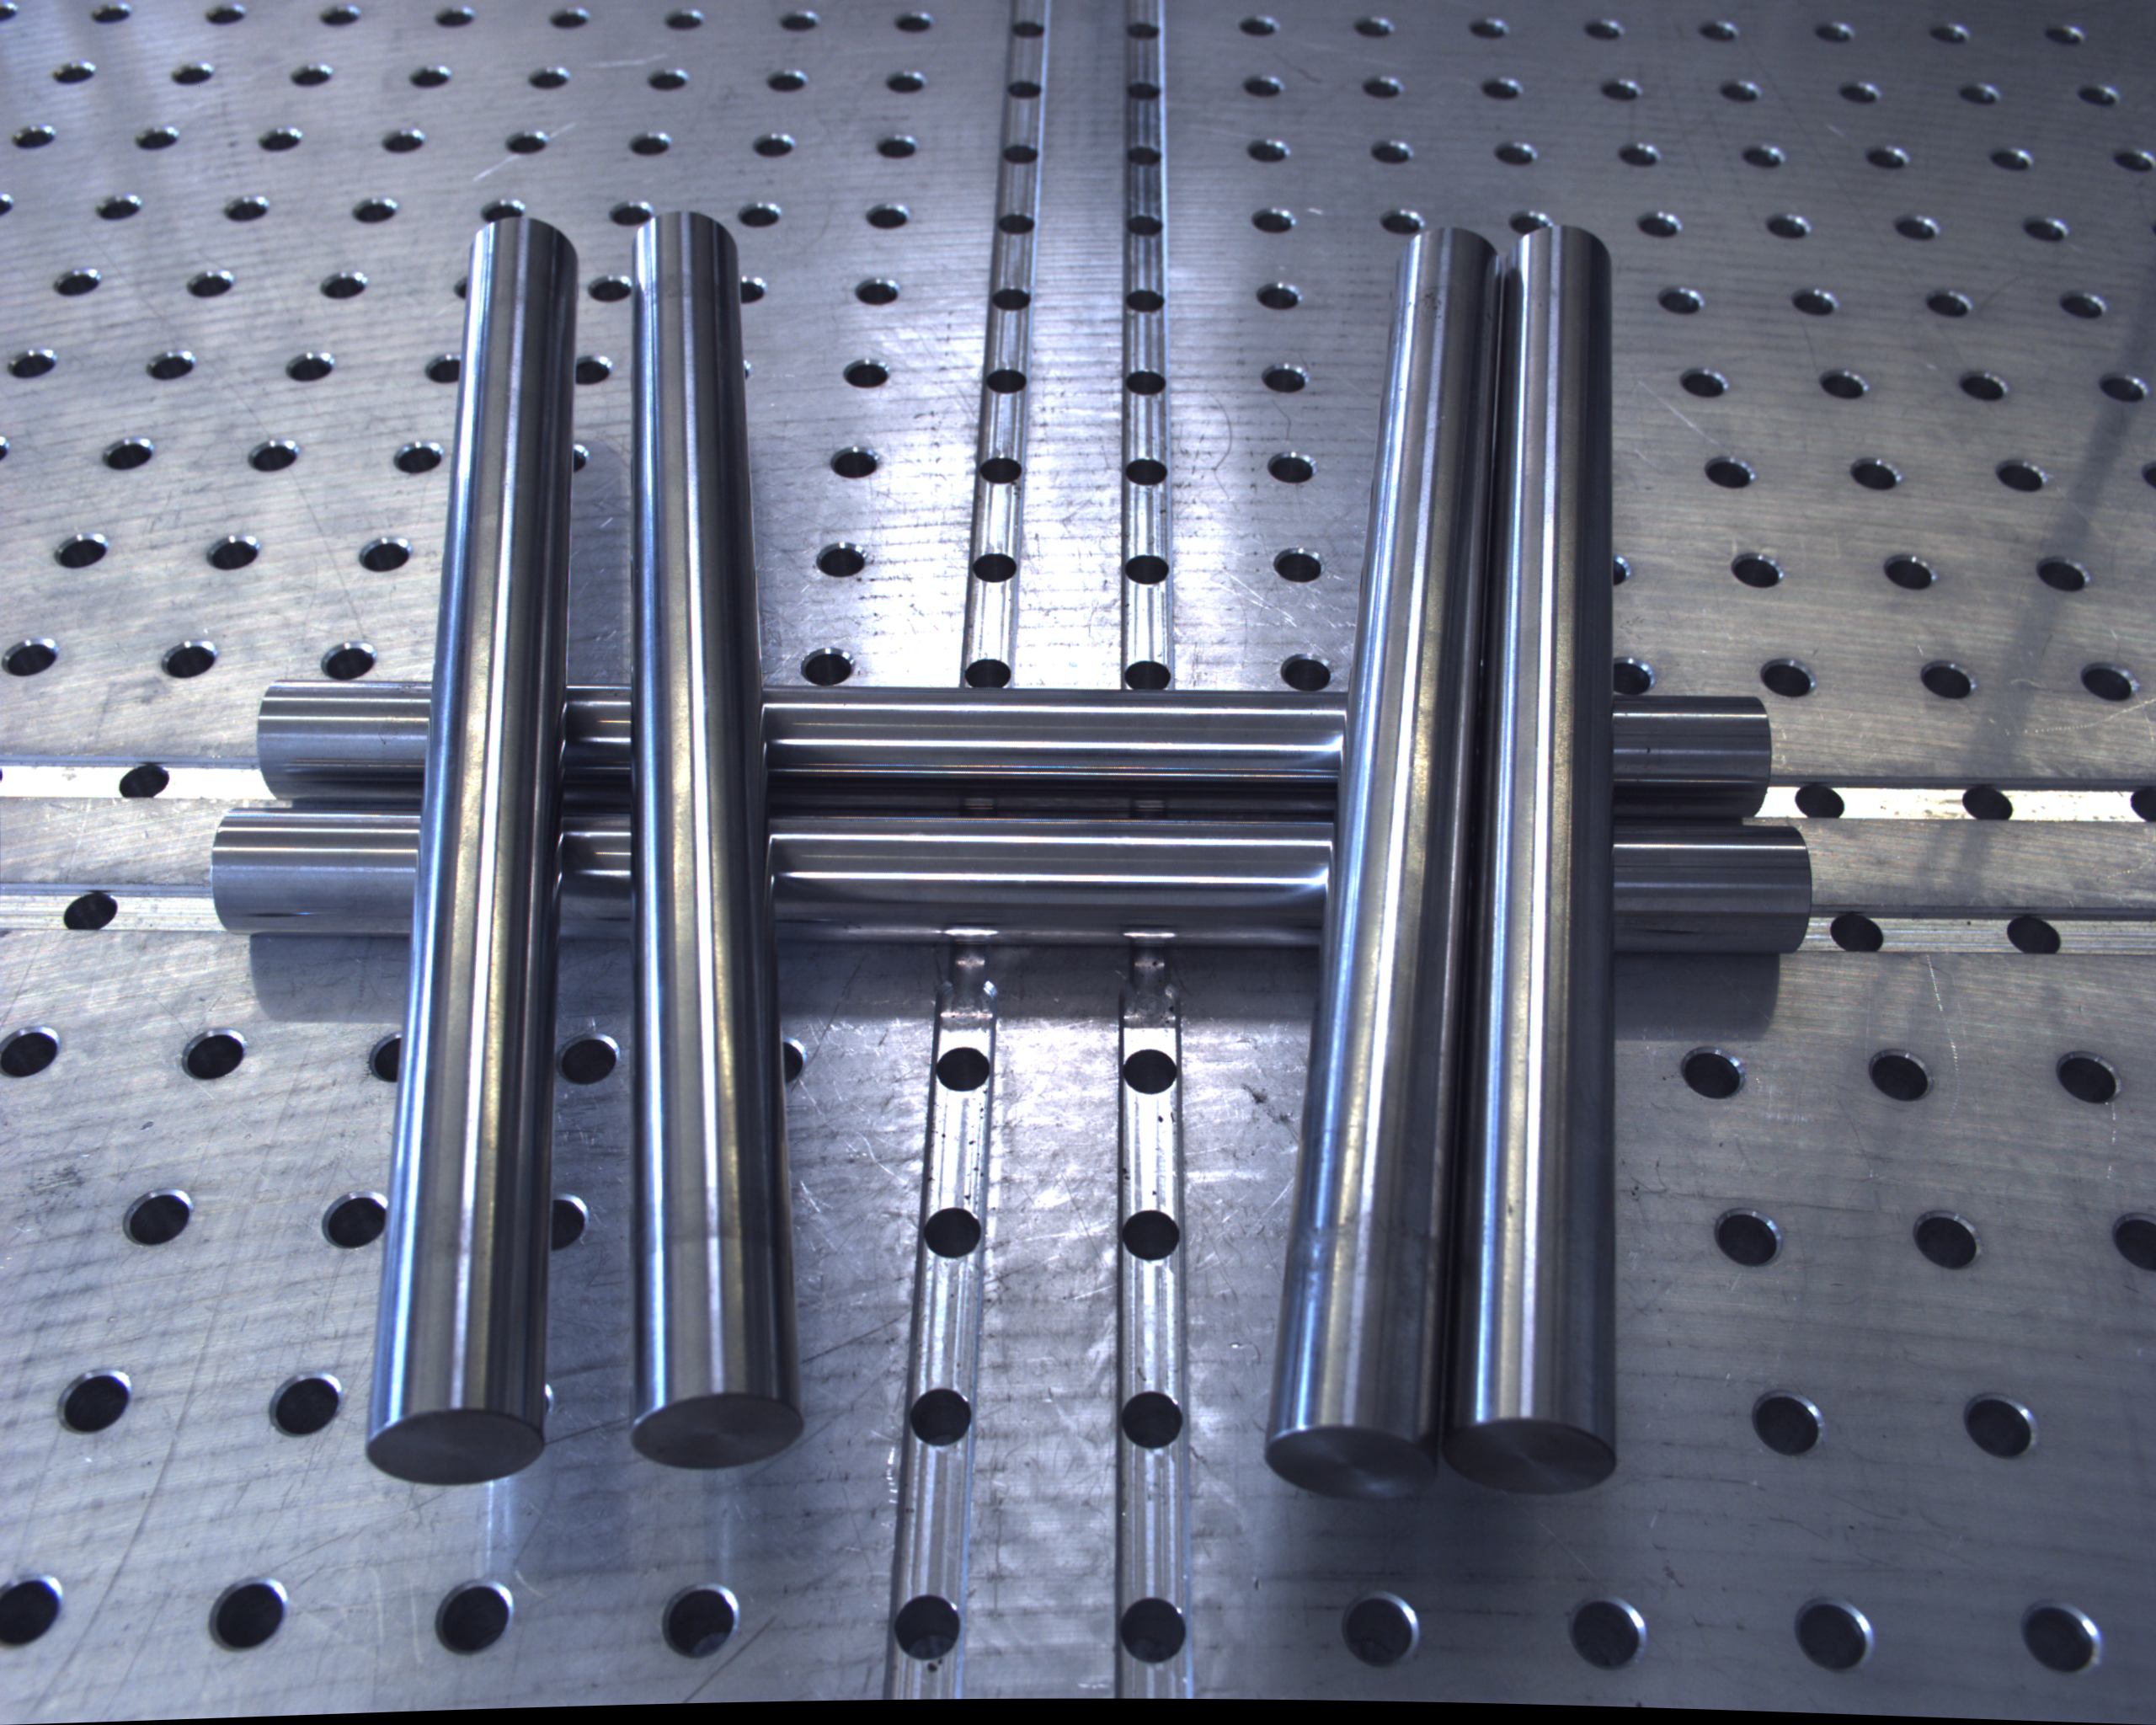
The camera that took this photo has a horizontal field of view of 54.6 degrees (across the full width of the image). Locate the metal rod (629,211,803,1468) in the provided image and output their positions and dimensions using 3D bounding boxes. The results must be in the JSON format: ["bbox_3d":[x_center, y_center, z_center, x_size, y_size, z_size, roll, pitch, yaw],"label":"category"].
[{"bbox_3d":[-0.073,-0.030,0.401,0.025,0.025,0.300,-6,50,-5],"label":"metal rod"}]

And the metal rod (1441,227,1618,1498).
[{"bbox_3d":[0.090,-0.026,0.399,0.025,0.025,0.300,7,50,6],"label":"metal rod"}]

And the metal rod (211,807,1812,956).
[{"bbox_3d":[-0.013,0.004,0.406,0.302,0.025,0.025,1,50,0],"label":"metal rod"}]

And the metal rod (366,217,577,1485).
[{"bbox_3d":[-0.111,-0.028,0.399,0.025,0.025,0.300,-6,50,-5],"label":"metal rod"}]

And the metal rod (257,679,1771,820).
[{"bbox_3d":[-0.013,-0.023,0.428,0.302,0.025,0.025,1,50,0],"label":"metal rod"}]

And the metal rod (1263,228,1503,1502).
[{"bbox_3d":[0.064,-0.026,0.398,0.025,0.025,0.300,7,50,6],"label":"metal rod"}]
